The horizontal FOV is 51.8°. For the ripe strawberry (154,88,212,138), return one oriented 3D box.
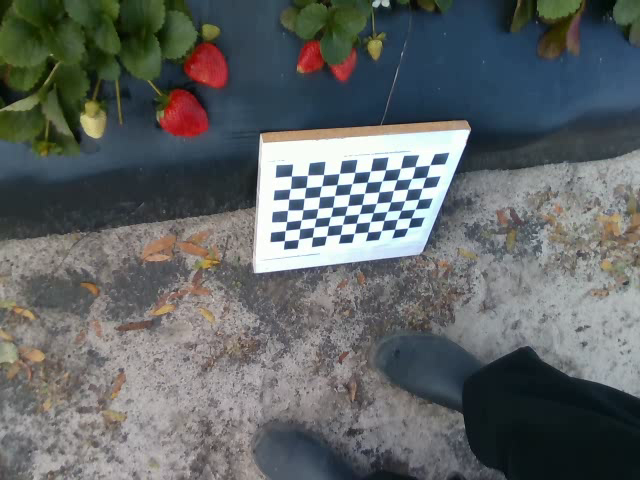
[{"bbox_3d":[-0.166,-0.151,0.810,0.065,0.044,0.058,29,-48,-23],"label":"ripe strawberry"}]

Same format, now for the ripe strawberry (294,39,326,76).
[{"bbox_3d":[-0.015,-0.224,0.812,0.038,0.053,0.047,37,-14,28],"label":"ripe strawberry"}]

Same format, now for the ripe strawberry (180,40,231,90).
[{"bbox_3d":[-0.135,-0.207,0.791,0.051,0.060,0.051,-39,-5,-47],"label":"ripe strawberry"}]

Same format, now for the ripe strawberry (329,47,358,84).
[{"bbox_3d":[0.029,-0.217,0.817,0.043,0.049,0.041,-8,-9,-8],"label":"ripe strawberry"}]
